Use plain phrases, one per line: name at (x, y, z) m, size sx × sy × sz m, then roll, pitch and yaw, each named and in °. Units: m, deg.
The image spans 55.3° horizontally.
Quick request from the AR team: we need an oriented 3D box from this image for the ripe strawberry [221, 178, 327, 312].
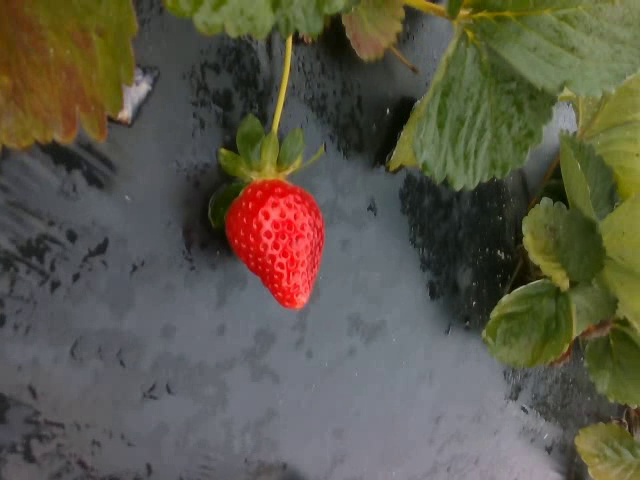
ripe strawberry at (-0.014, 0.001, 0.227) m, size 0.045 × 0.054 × 0.048 m, roll 3°, pitch -17°, yaw -25°
